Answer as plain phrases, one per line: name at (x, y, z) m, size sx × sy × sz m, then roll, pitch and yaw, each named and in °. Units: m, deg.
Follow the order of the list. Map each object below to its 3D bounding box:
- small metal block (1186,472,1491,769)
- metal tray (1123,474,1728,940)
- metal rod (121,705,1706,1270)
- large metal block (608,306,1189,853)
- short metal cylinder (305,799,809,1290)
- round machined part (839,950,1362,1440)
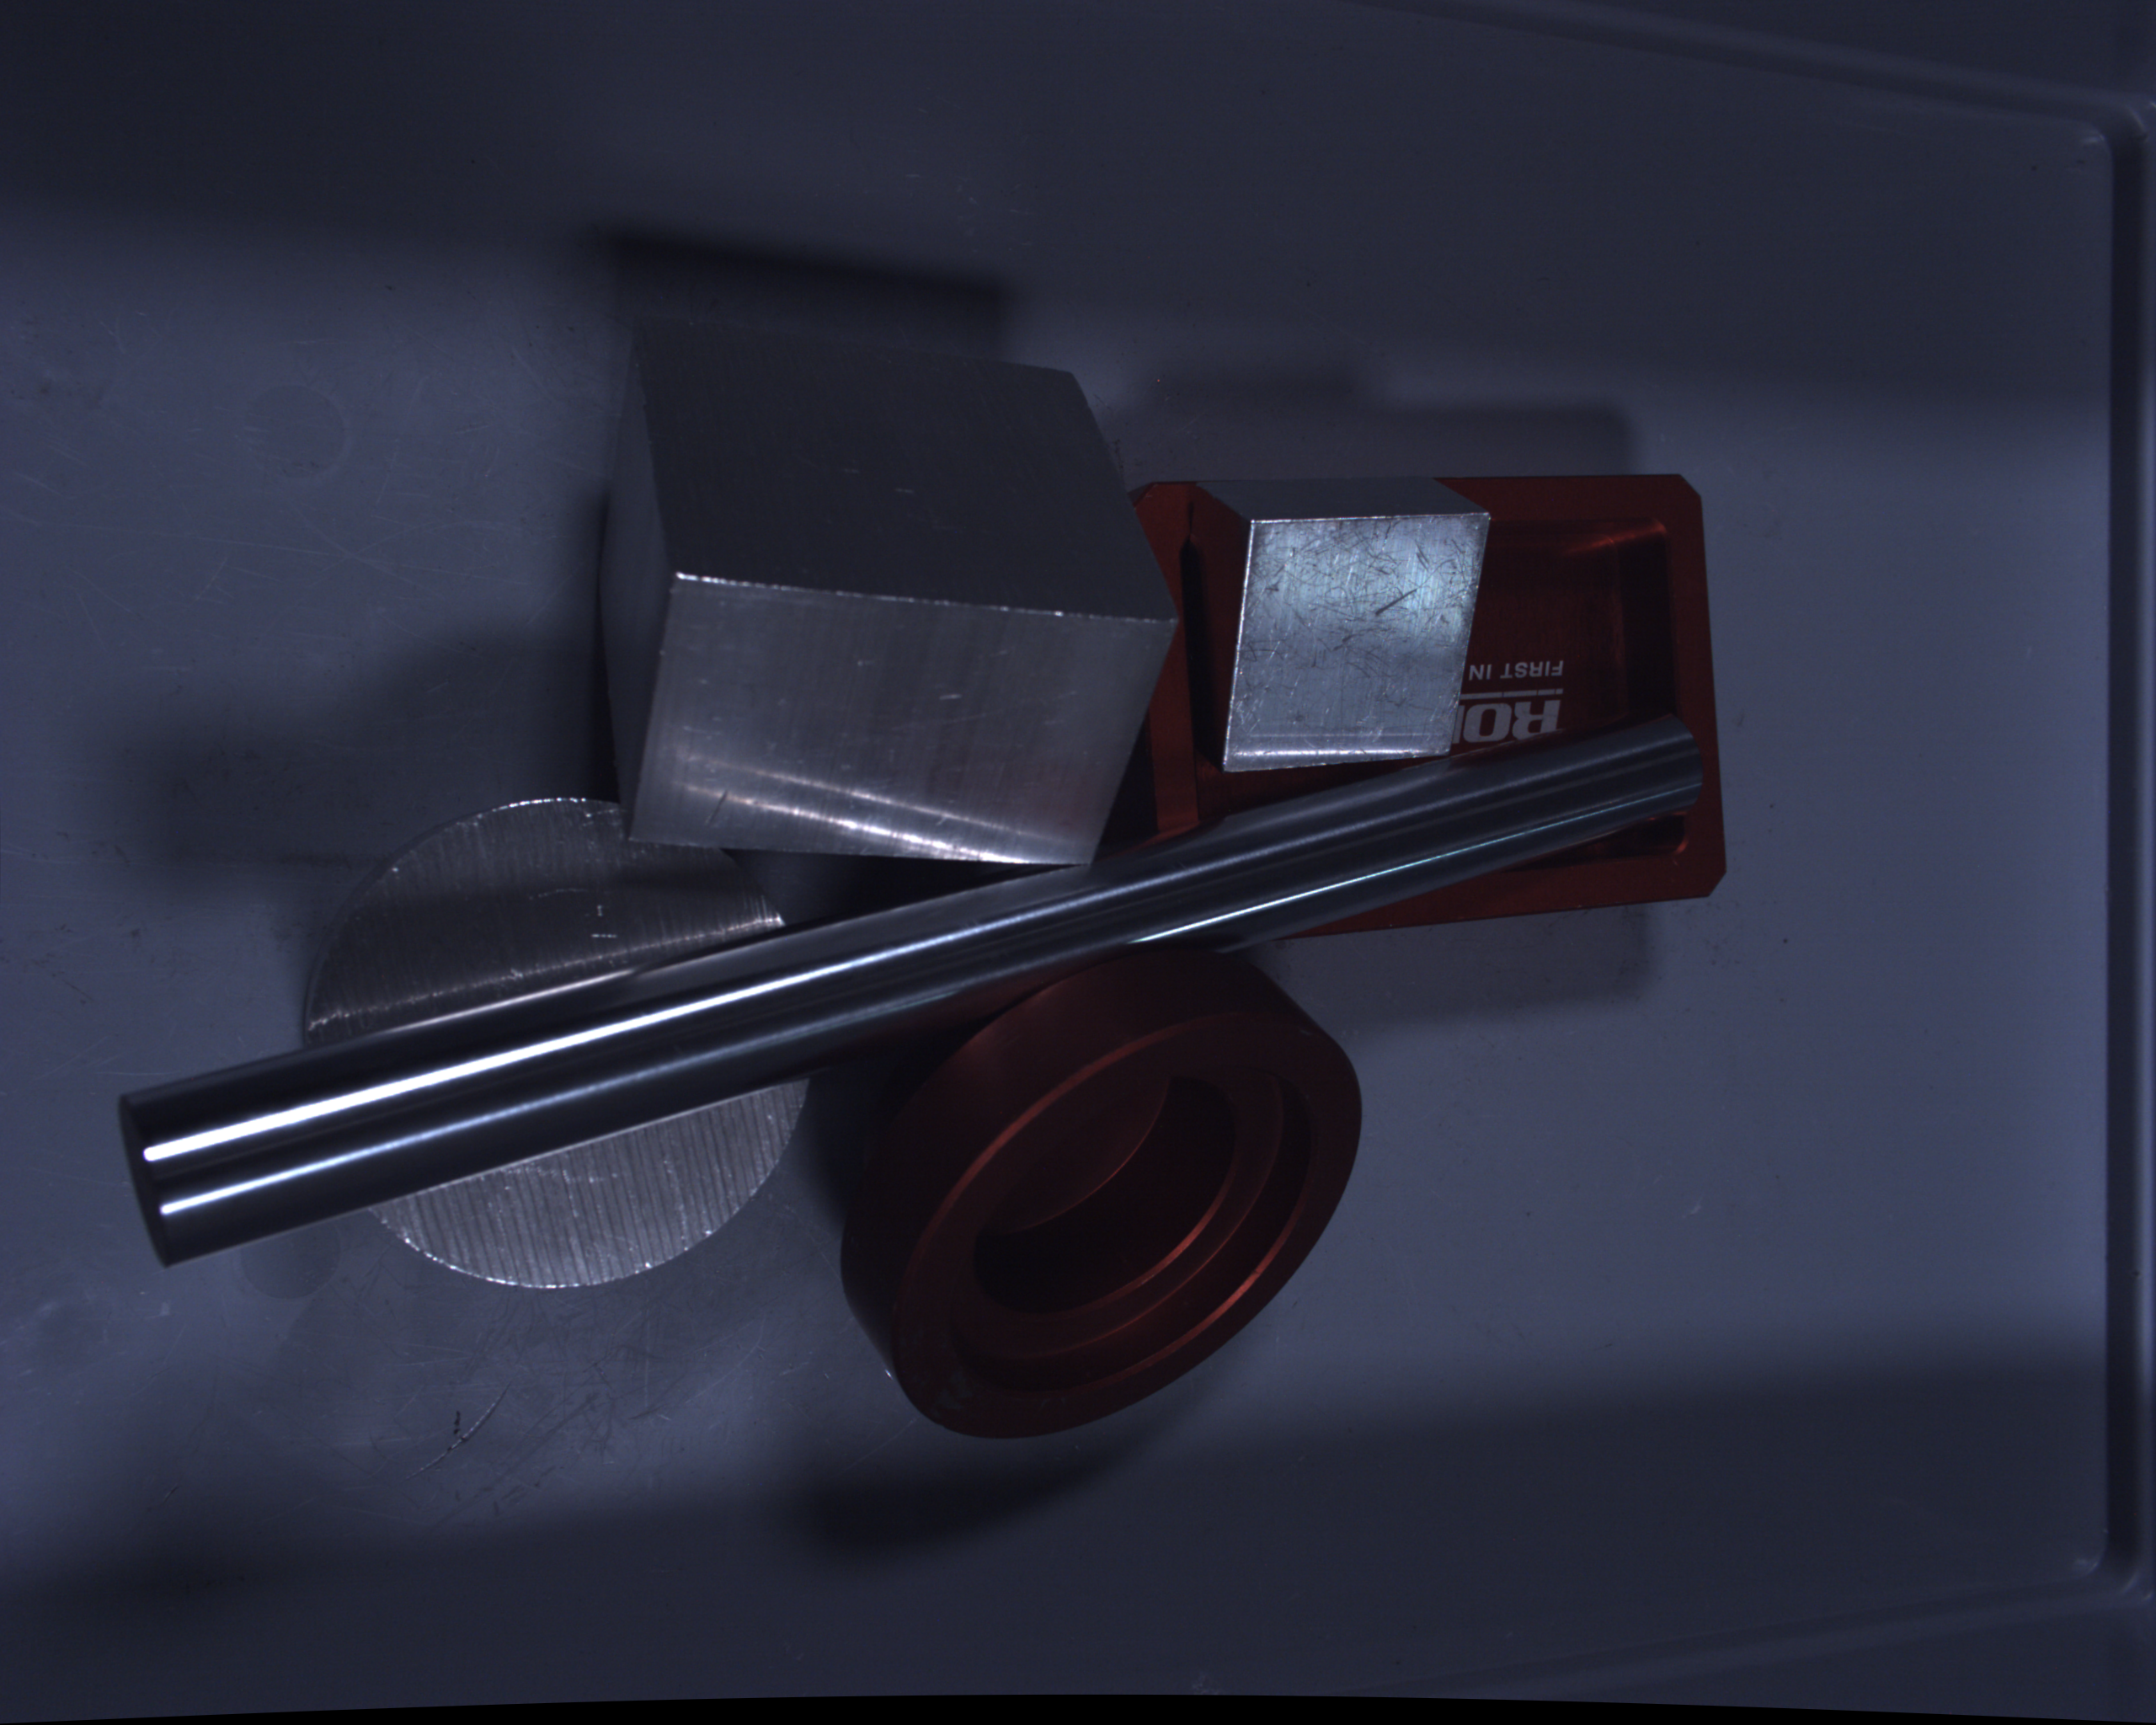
small metal block at (0.048, -0.048, 0.405) m, size 0.050 × 0.025 × 0.050 m, roll -5°, pitch 118°, yaw -20°
metal tray at (0.069, -0.033, 0.432) m, size 0.131 × 0.030 × 0.089 m, roll -5°, pitch 92°, yaw -20°
metal rod at (-0.003, 0.012, 0.365) m, size 0.303 × 0.025 × 0.025 m, roll -15°, pitch 95°, yaw -31°
large metal block at (-0.035, -0.049, 0.359) m, size 0.081 × 0.080 × 0.050 m, roll 3°, pitch 131°, yaw -19°
short metal cylinder at (-0.091, 0.029, 0.362) m, size 0.081 × 0.050 × 0.079 m, roll 0°, pitch 90°, yaw -21°
round machined part at (0.000, 0.056, 0.384) m, size 0.099 × 0.042 × 0.097 m, roll -21°, pitch 133°, yaw -24°
